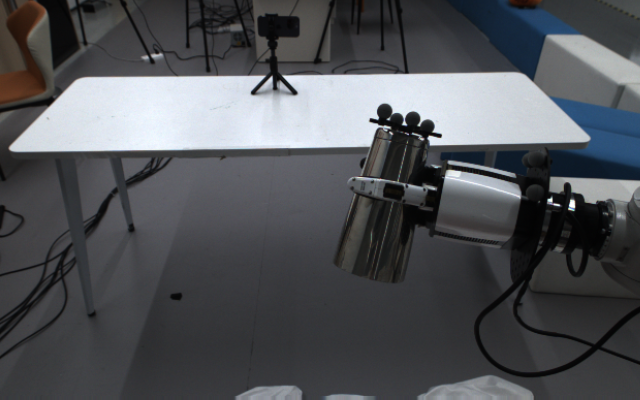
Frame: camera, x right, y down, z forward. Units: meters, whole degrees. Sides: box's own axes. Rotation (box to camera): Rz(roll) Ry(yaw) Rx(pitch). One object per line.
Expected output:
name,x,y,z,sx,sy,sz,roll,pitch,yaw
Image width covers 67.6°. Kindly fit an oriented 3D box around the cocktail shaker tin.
cocktail shaker tin,0.081,0.004,0.588,0.093,0.170,0.093,14,6,-2
